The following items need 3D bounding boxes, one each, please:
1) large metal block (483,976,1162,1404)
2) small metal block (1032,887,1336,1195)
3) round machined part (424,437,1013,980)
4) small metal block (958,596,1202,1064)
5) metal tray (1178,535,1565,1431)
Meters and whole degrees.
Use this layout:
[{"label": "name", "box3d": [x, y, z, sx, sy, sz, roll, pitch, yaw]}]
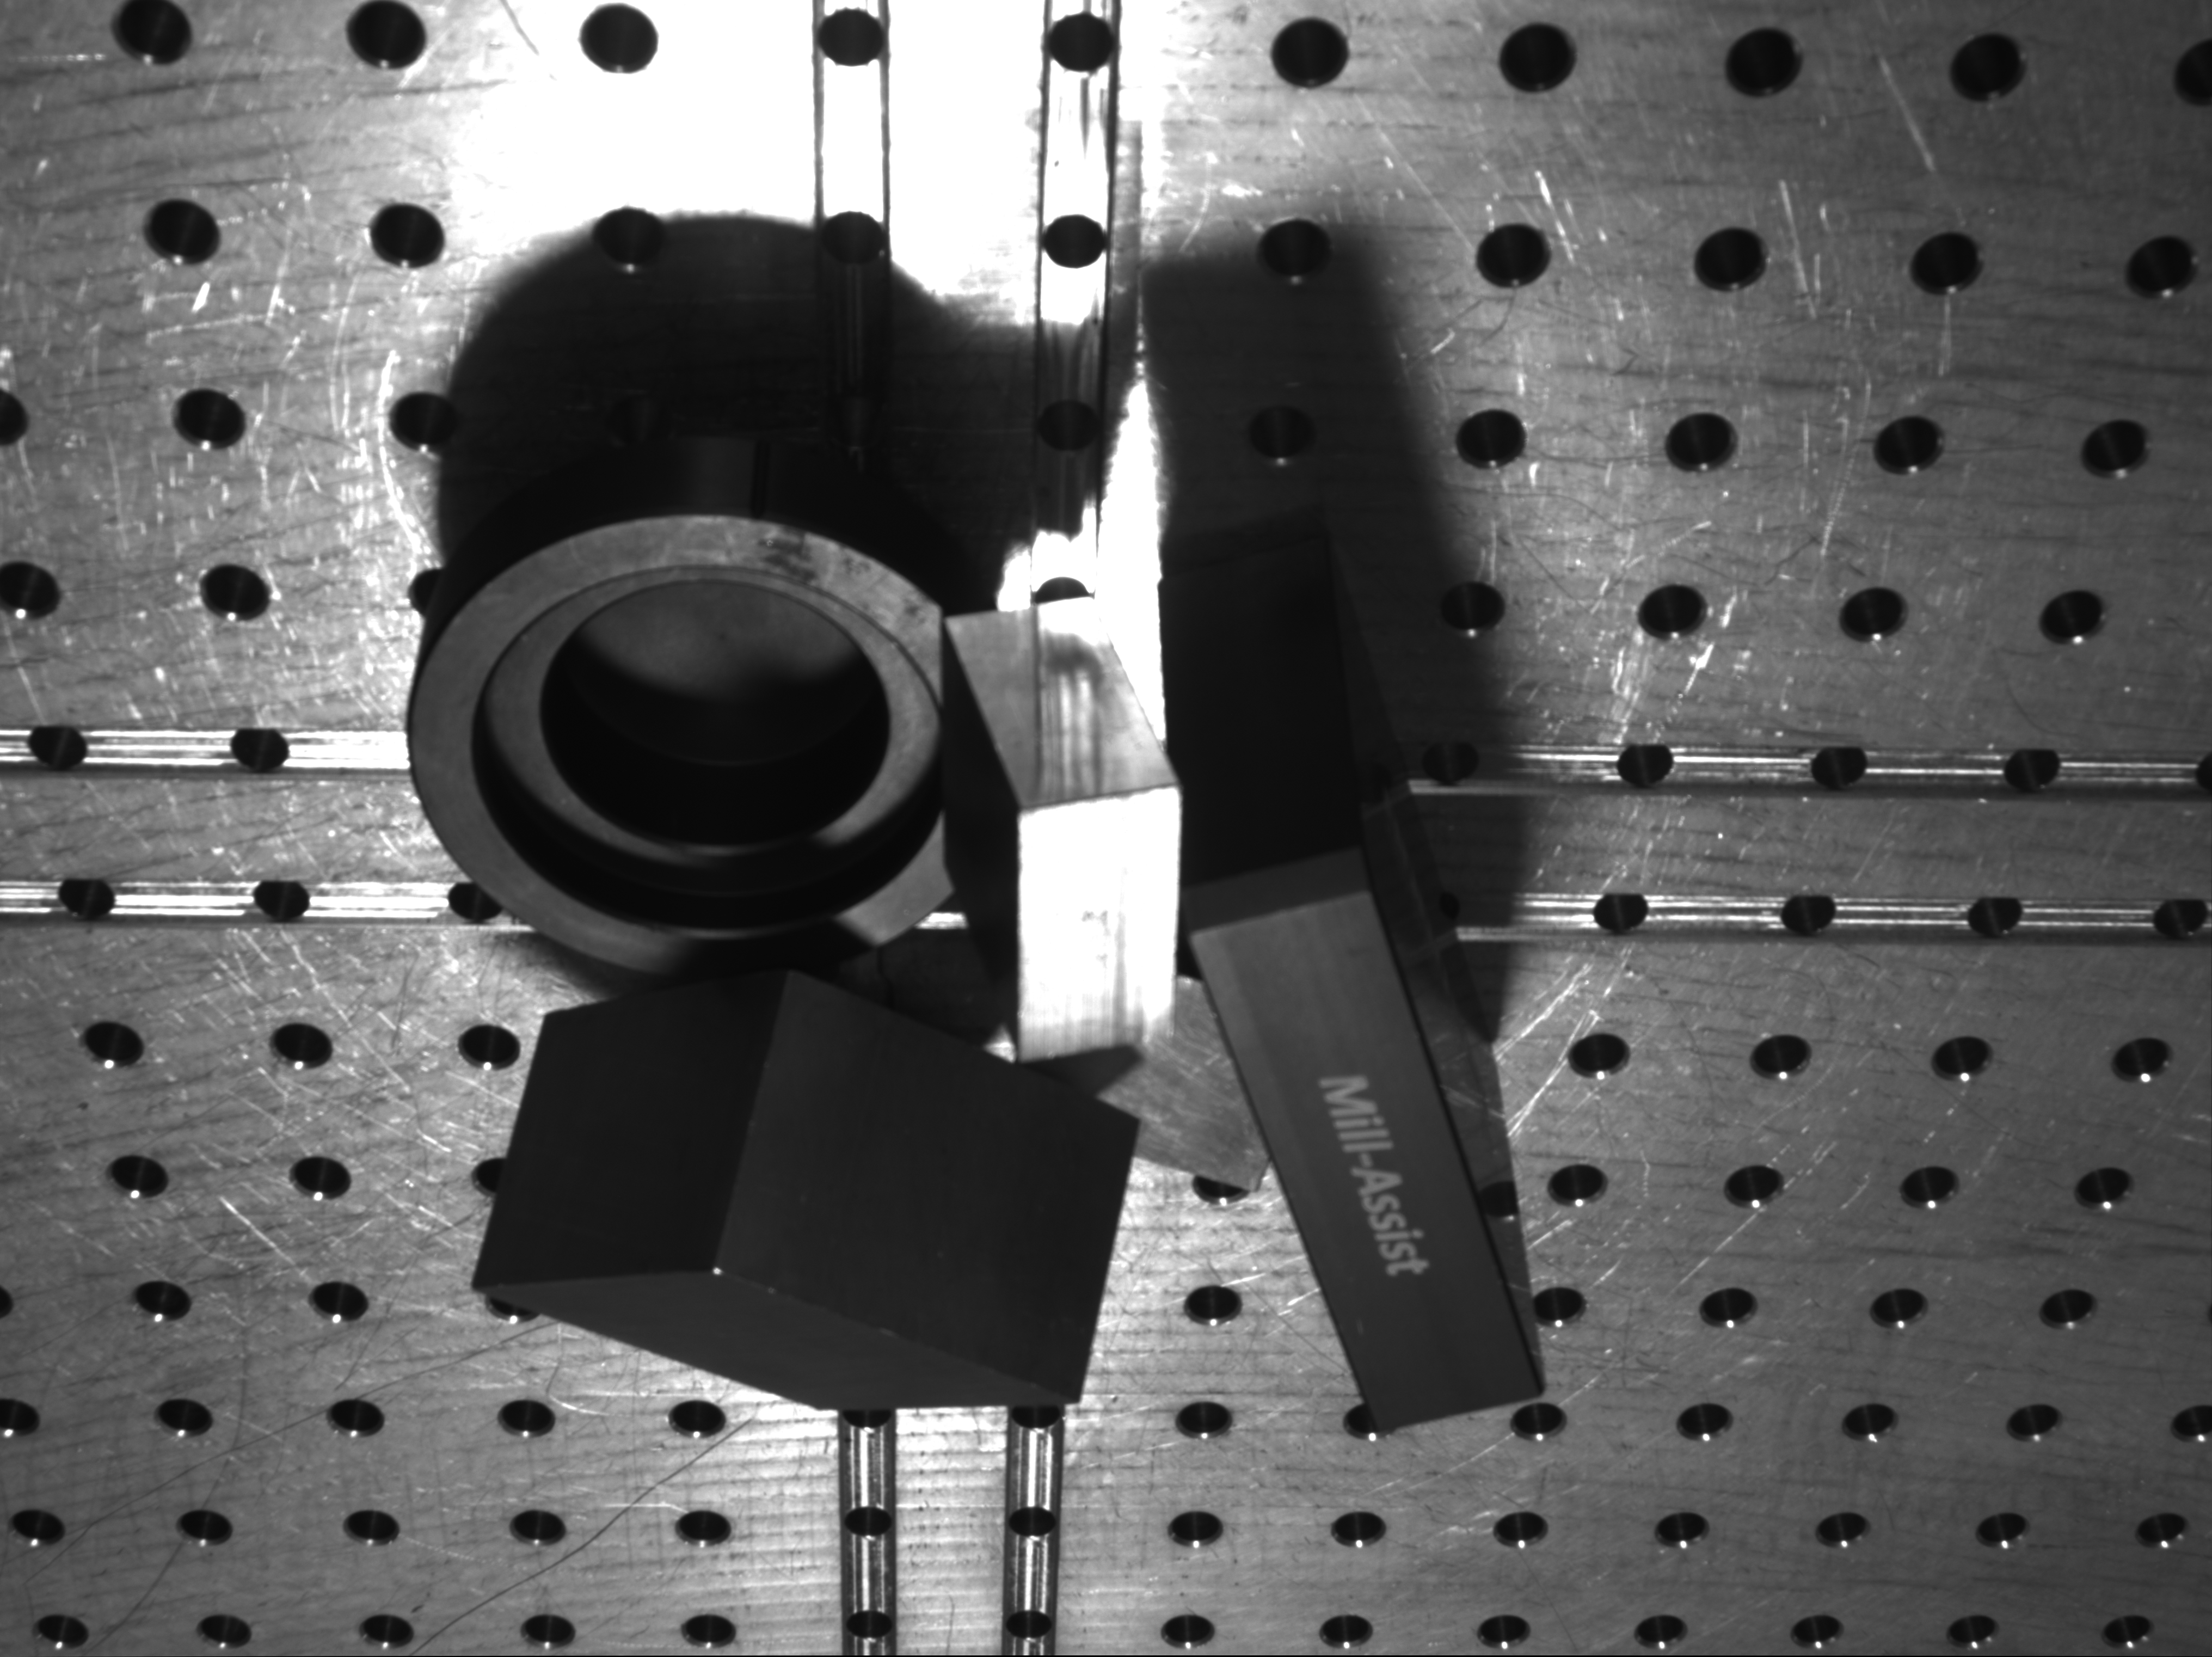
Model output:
[{"label": "large metal block", "box3d": [-0.050, 0.067, 0.650, 0.080, 0.050, 0.080, 25, 157, -34]}, {"label": "small metal block", "box3d": [0.016, 0.035, 0.664, 0.050, 0.025, 0.050, 16, 133, -1]}, {"label": "round machined part", "box3d": [-0.061, -0.025, 0.607, 0.098, 0.042, 0.098, -1, 130, -1]}, {"label": "small metal block", "box3d": [-0.005, 0.000, 0.571, 0.025, 0.050, 0.050, -9, 130, -13]}, {"label": "metal tray", "box3d": [0.046, 0.027, 0.624, 0.030, 0.090, 0.130, -14, 129, 10]}]
